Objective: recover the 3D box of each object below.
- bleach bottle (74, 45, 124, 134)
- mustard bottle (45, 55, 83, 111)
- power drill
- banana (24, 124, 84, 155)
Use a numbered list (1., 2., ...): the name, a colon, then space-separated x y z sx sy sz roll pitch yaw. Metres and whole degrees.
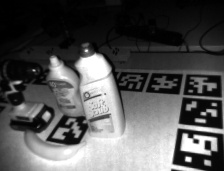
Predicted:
1. bleach bottle: -0.038 0.018 0.520 0.102 0.253 0.068 -3 42 14
2. mustard bottle: -0.137 -0.012 0.616 0.095 0.193 0.058 4 43 20
3. power drill: -0.255 0.008 0.596 0.183 0.188 0.057 3 36 16
4. banana: -0.162 0.138 0.563 0.195 0.039 0.074 4 47 23
